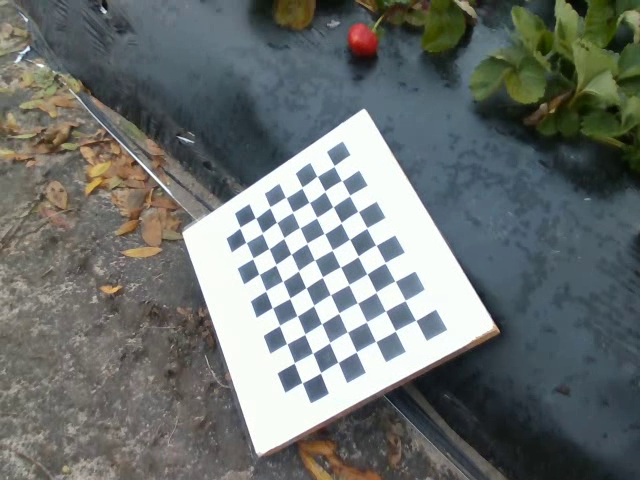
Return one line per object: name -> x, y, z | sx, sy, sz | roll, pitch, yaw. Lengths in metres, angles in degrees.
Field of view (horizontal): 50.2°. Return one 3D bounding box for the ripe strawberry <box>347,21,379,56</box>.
ripe strawberry -> 0.062, -0.266, 0.921 | 0.045, 0.048, 0.053 | 4, 25, 29
